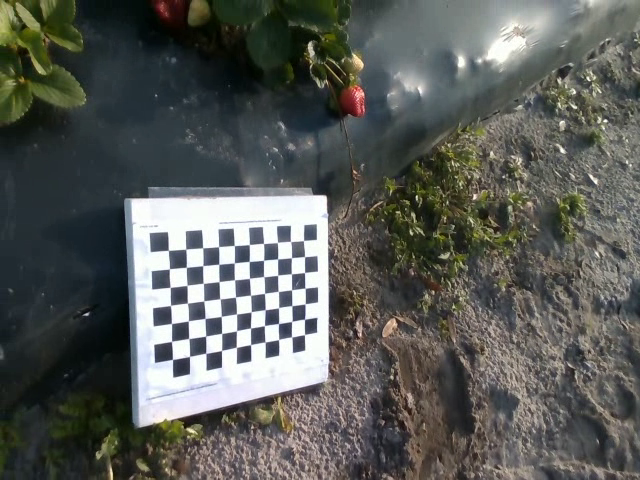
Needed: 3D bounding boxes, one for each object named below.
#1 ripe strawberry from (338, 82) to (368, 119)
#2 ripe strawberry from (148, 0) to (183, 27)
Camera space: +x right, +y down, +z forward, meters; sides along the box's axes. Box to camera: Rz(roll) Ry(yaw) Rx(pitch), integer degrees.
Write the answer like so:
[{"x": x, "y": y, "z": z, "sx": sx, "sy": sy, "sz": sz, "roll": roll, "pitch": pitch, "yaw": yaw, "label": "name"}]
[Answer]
[{"x": 0.057, "y": -0.211, "z": 0.974, "sx": 0.047, "sy": 0.050, "sz": 0.034, "roll": -29, "pitch": 15, "yaw": -33, "label": "ripe strawberry"}, {"x": -0.207, "y": -0.316, "z": 0.882, "sx": 0.057, "sy": 0.058, "sz": 0.070, "roll": 6, "pitch": -2, "yaw": 26, "label": "ripe strawberry"}]
